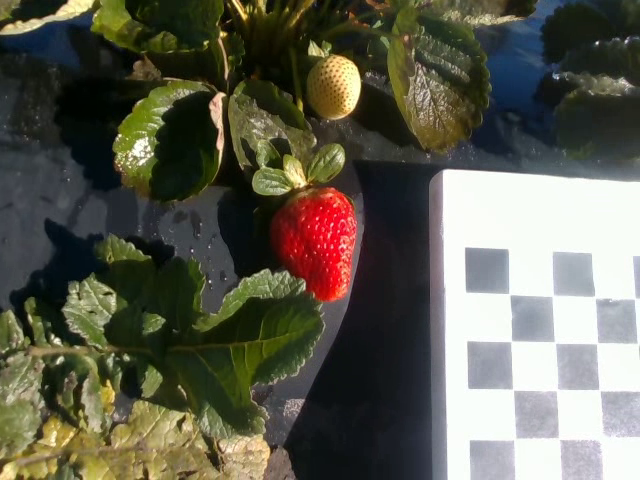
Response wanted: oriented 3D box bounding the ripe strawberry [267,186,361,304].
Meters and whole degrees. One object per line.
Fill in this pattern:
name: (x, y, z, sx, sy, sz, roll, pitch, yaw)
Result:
ripe strawberry: (-0.001, 0.004, 0.306, 0.048, 0.069, 0.040, -15, -13, -12)
